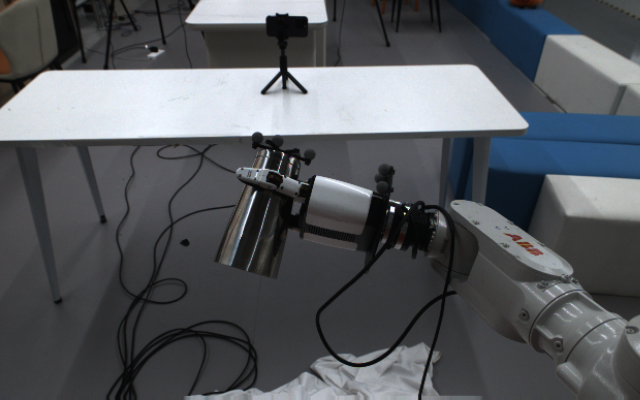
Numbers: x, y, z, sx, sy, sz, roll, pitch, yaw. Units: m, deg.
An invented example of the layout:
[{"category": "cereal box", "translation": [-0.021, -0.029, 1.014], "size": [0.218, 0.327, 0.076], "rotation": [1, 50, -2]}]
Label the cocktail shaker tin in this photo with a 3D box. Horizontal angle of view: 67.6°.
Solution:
[{"category": "cocktail shaker tin", "translation": [-0.079, 0.016, 0.691], "size": [0.093, 0.093, 0.170], "rotation": [13, 79, 15]}]
